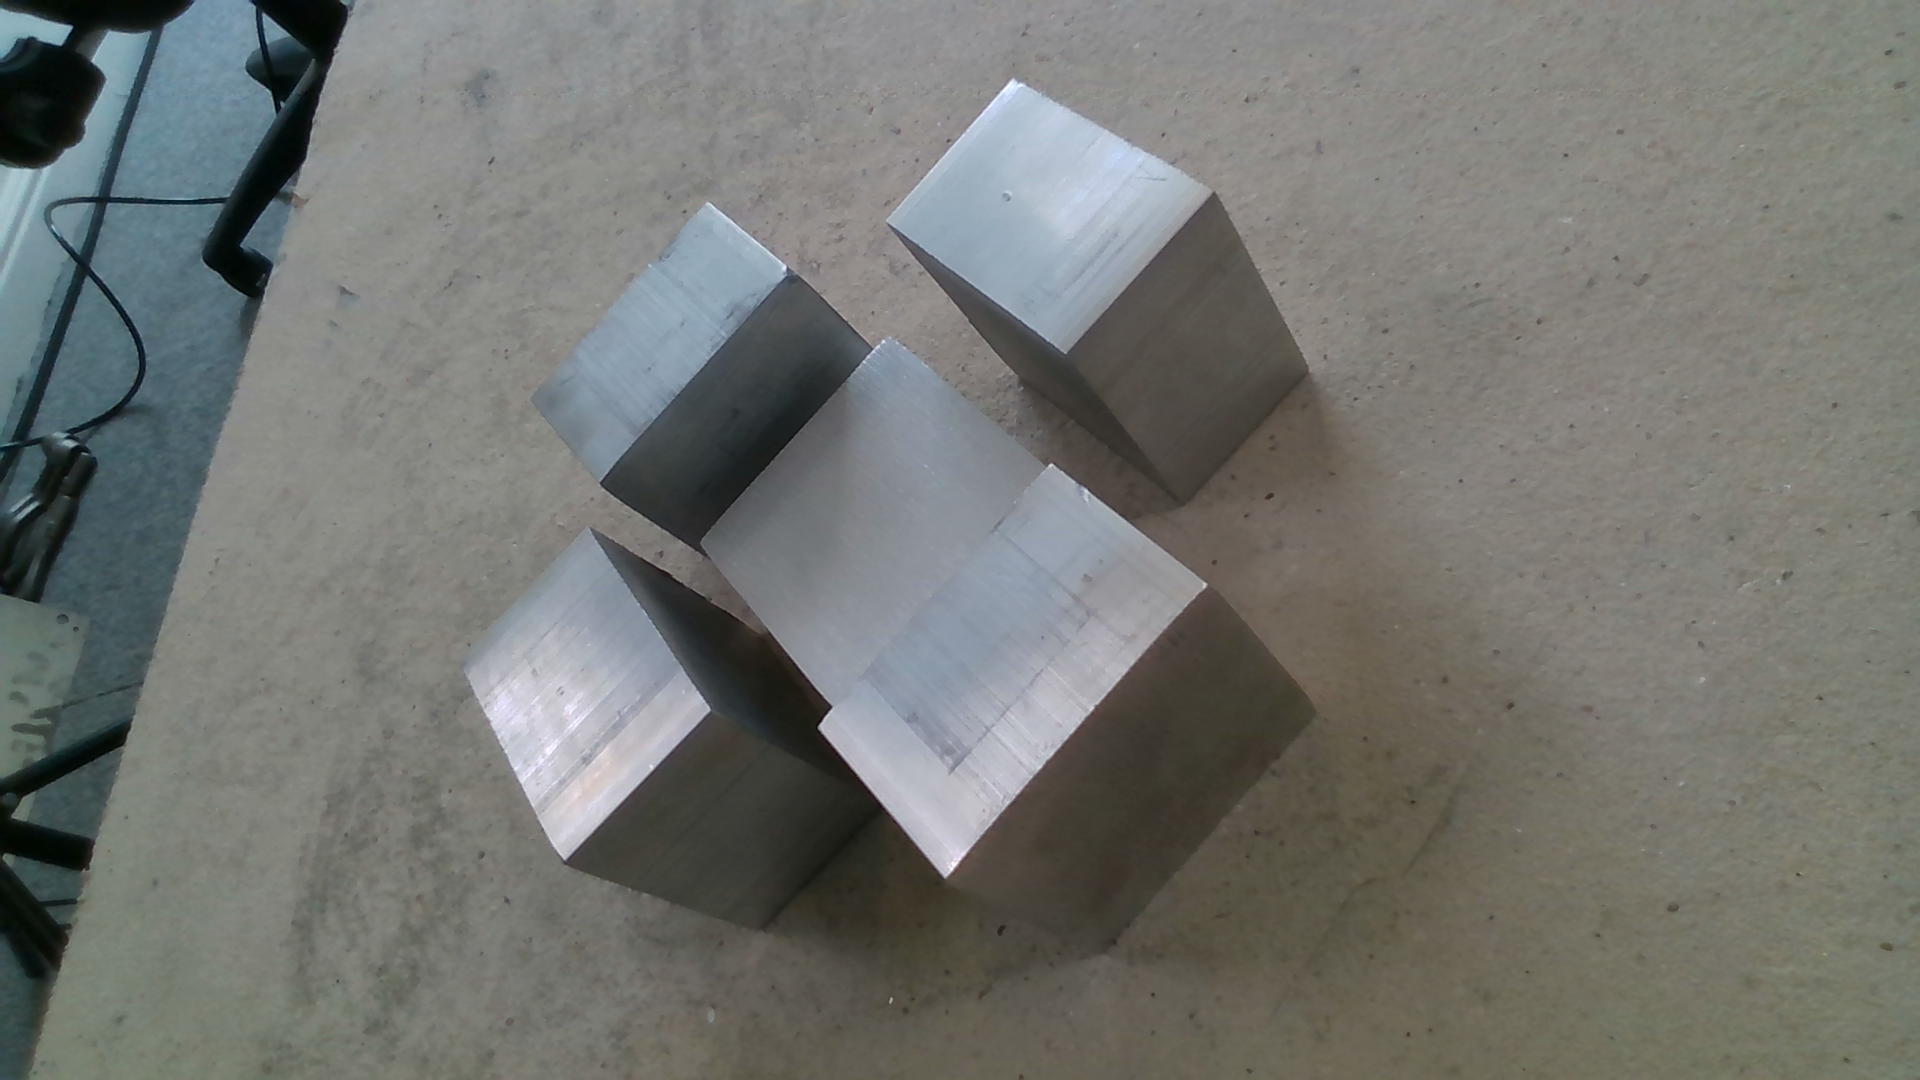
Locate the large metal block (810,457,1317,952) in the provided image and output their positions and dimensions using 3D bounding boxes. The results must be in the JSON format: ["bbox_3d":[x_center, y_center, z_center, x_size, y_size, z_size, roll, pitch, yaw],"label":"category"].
[{"bbox_3d":[0.027,0.041,0.319,0.080,0.080,0.050,-48,52,1],"label":"large metal block"}]

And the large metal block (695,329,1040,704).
[{"bbox_3d":[-0.013,0.002,0.381,0.080,0.050,0.080,-47,51,2],"label":"large metal block"}]

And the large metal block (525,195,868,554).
[{"bbox_3d":[-0.068,-0.042,0.421,0.080,0.080,0.050,-48,51,1],"label":"large metal block"}]

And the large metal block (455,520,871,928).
[{"bbox_3d":[-0.079,0.052,0.378,0.050,0.080,0.080,-46,51,2],"label":"large metal block"}]

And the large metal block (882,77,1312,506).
[{"bbox_3d":[0.038,-0.066,0.370,0.050,0.080,0.080,-47,51,1],"label":"large metal block"}]
